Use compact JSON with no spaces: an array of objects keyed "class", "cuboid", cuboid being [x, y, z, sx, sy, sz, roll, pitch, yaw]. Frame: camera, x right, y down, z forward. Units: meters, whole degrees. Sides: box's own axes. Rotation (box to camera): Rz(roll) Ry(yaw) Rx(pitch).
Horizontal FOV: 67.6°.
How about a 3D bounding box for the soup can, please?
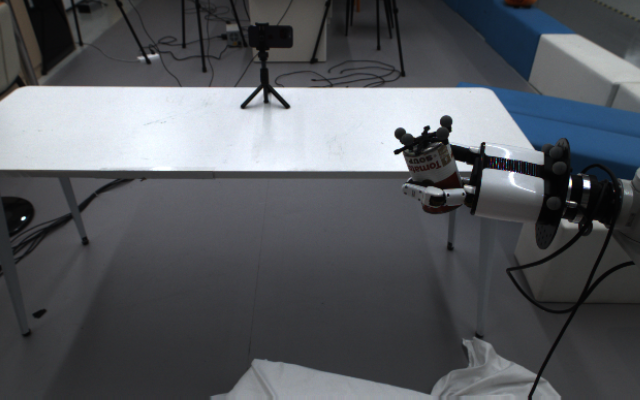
[{"class":"soup can","cuboid":[0.169,-0.040,0.711,0.067,0.101,0.067,-21,24,10]}]
